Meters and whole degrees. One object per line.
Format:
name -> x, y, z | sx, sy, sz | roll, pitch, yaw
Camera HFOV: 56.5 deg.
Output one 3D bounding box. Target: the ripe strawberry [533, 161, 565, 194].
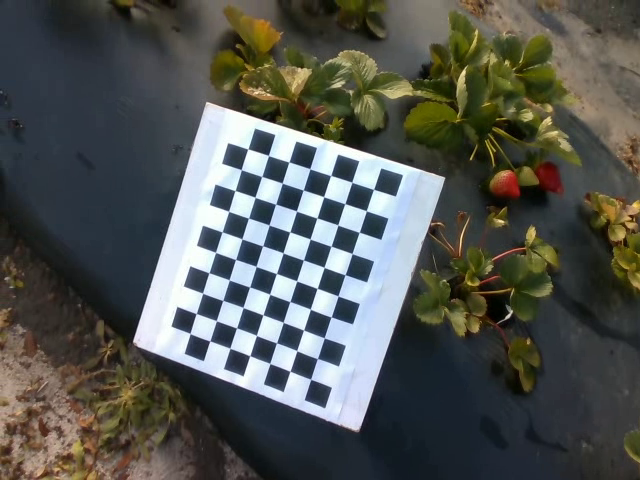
ripe strawberry -> 0.363, -0.096, 0.935 | 0.048, 0.065, 0.050 | -31, -8, 8
